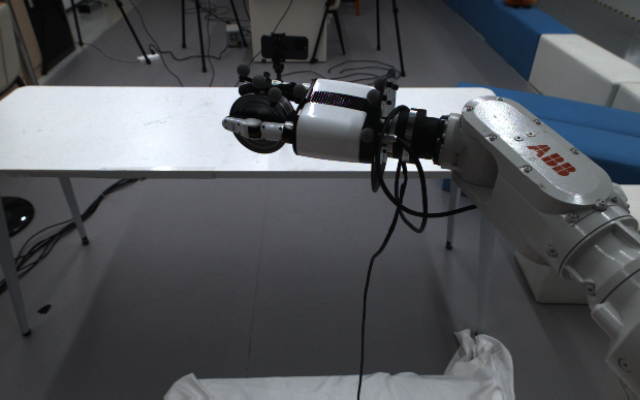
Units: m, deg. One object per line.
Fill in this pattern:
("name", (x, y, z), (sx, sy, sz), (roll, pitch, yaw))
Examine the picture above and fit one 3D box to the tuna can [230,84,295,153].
("tuna can", (-0.076, -0.110, 0.656), (0.085, 0.085, 0.034), (12, 33, 14))
